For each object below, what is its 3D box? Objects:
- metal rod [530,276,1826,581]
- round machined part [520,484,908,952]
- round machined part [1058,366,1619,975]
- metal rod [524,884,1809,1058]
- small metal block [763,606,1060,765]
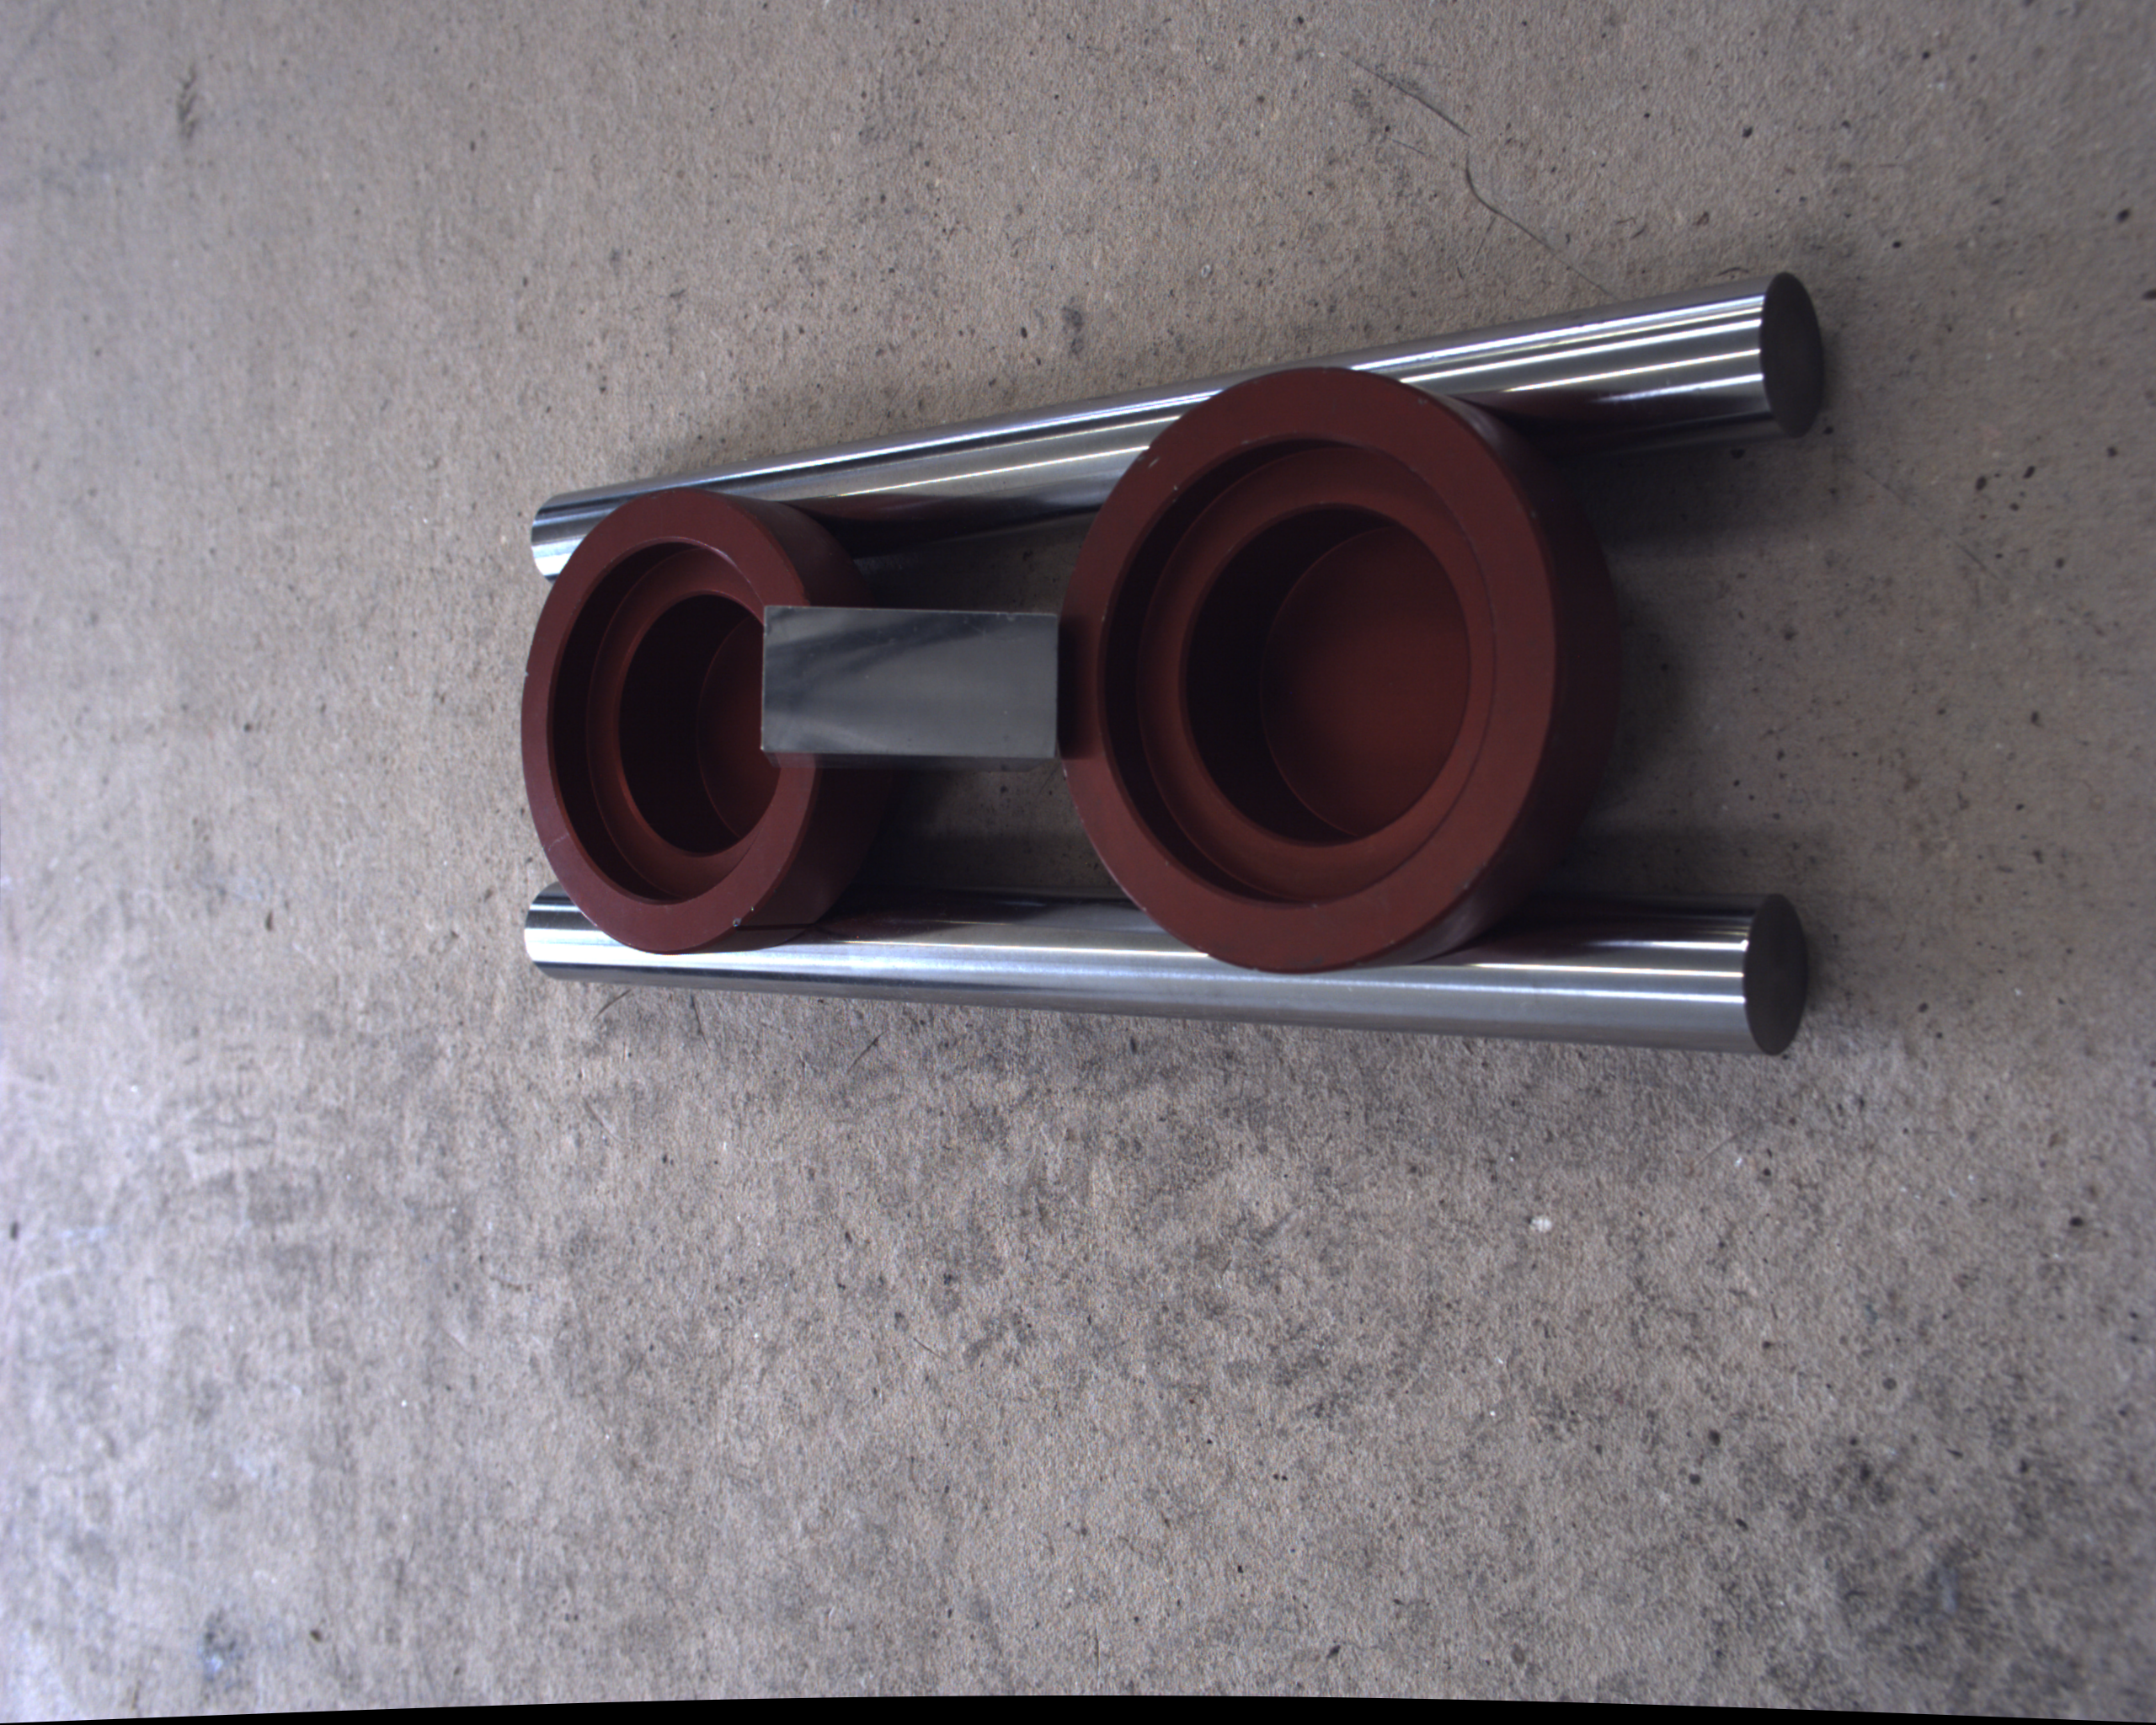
[{"bbox_3d":[-0.007,-0.077,0.412,0.300,0.025,0.025,0,90,40],"label":"metal rod"},{"bbox_3d":[-0.074,-0.030,0.451,0.098,0.042,0.097,0,90,40],"label":"round machined part"},{"bbox_3d":[0.046,-0.031,0.351,0.098,0.042,0.097,0,90,40],"label":"round machined part"},{"bbox_3d":[-0.009,0.017,0.413,0.300,0.025,0.025,0,90,40],"label":"metal rod"},{"bbox_3d":[-0.031,-0.031,0.382,0.050,0.050,0.025,178,93,-83],"label":"small metal block"}]
